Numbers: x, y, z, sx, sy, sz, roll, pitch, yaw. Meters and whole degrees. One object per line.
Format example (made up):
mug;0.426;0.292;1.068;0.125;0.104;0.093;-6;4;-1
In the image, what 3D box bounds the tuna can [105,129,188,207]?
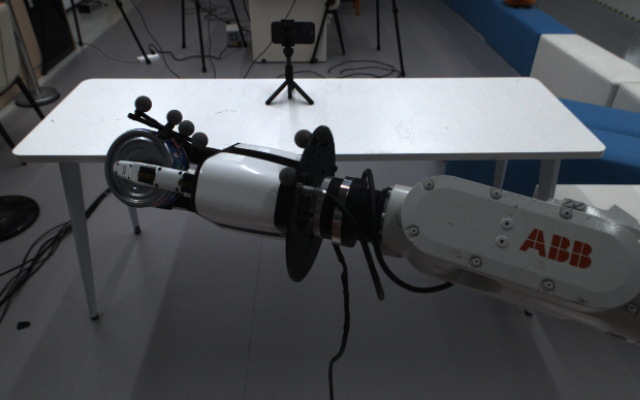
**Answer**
tuna can;-0.186;-0.028;0.525;0.085;0.085;0.034;12;4;14
